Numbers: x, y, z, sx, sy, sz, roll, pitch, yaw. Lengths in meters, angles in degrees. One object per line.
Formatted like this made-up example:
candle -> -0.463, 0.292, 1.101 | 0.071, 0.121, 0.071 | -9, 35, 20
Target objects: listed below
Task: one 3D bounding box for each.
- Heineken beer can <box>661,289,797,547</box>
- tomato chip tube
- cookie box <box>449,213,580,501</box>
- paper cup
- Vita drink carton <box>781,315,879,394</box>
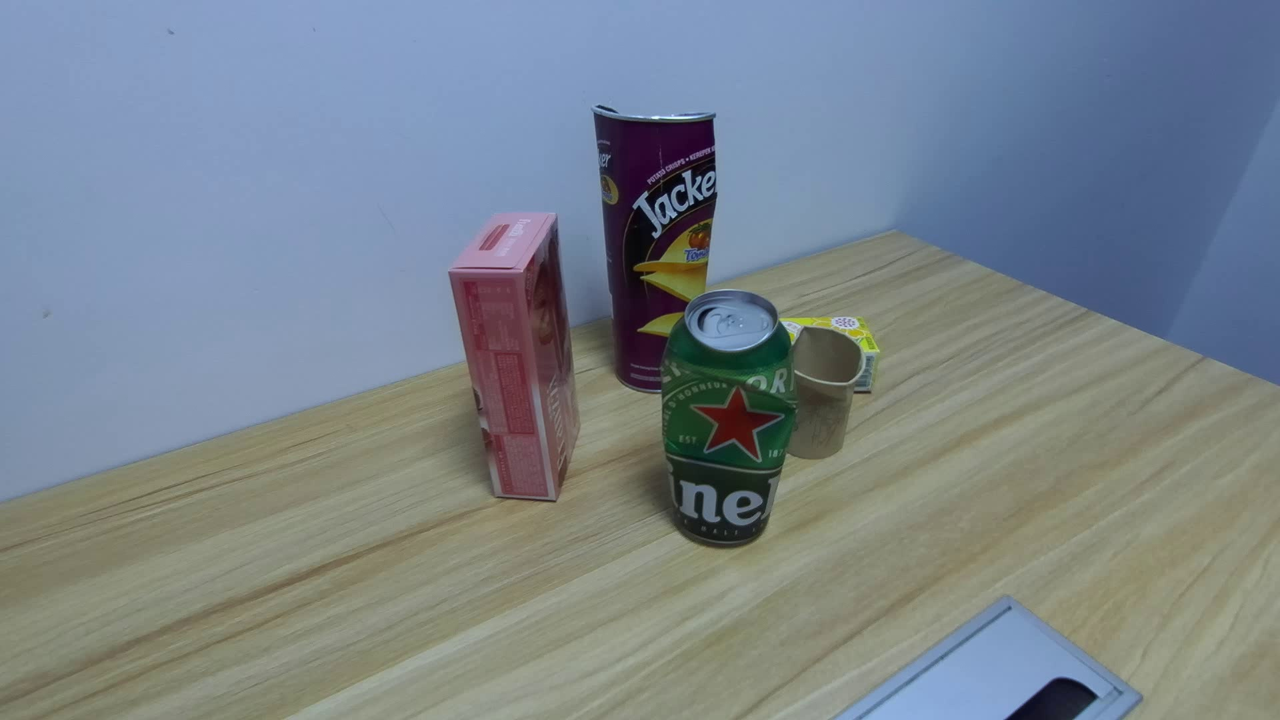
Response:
Heineken beer can -> 0.054, 0.043, 0.444 | 0.069, 0.168, 0.068 | -21, 39, -24
tomato chip tube -> 0.014, -0.088, 0.588 | 0.076, 0.235, 0.077 | -18, 36, -24
cookie box -> -0.081, 0.001, 0.500 | 0.048, 0.185, 0.096 | 0, 32, 7
paper cup -> 0.136, 0.027, 0.539 | 0.066, 0.084, 0.072 | 19, 38, 29
Vita drink carton -> 0.151, -0.005, 0.637 | 0.109, 0.043, 0.066 | -1, 31, 4
